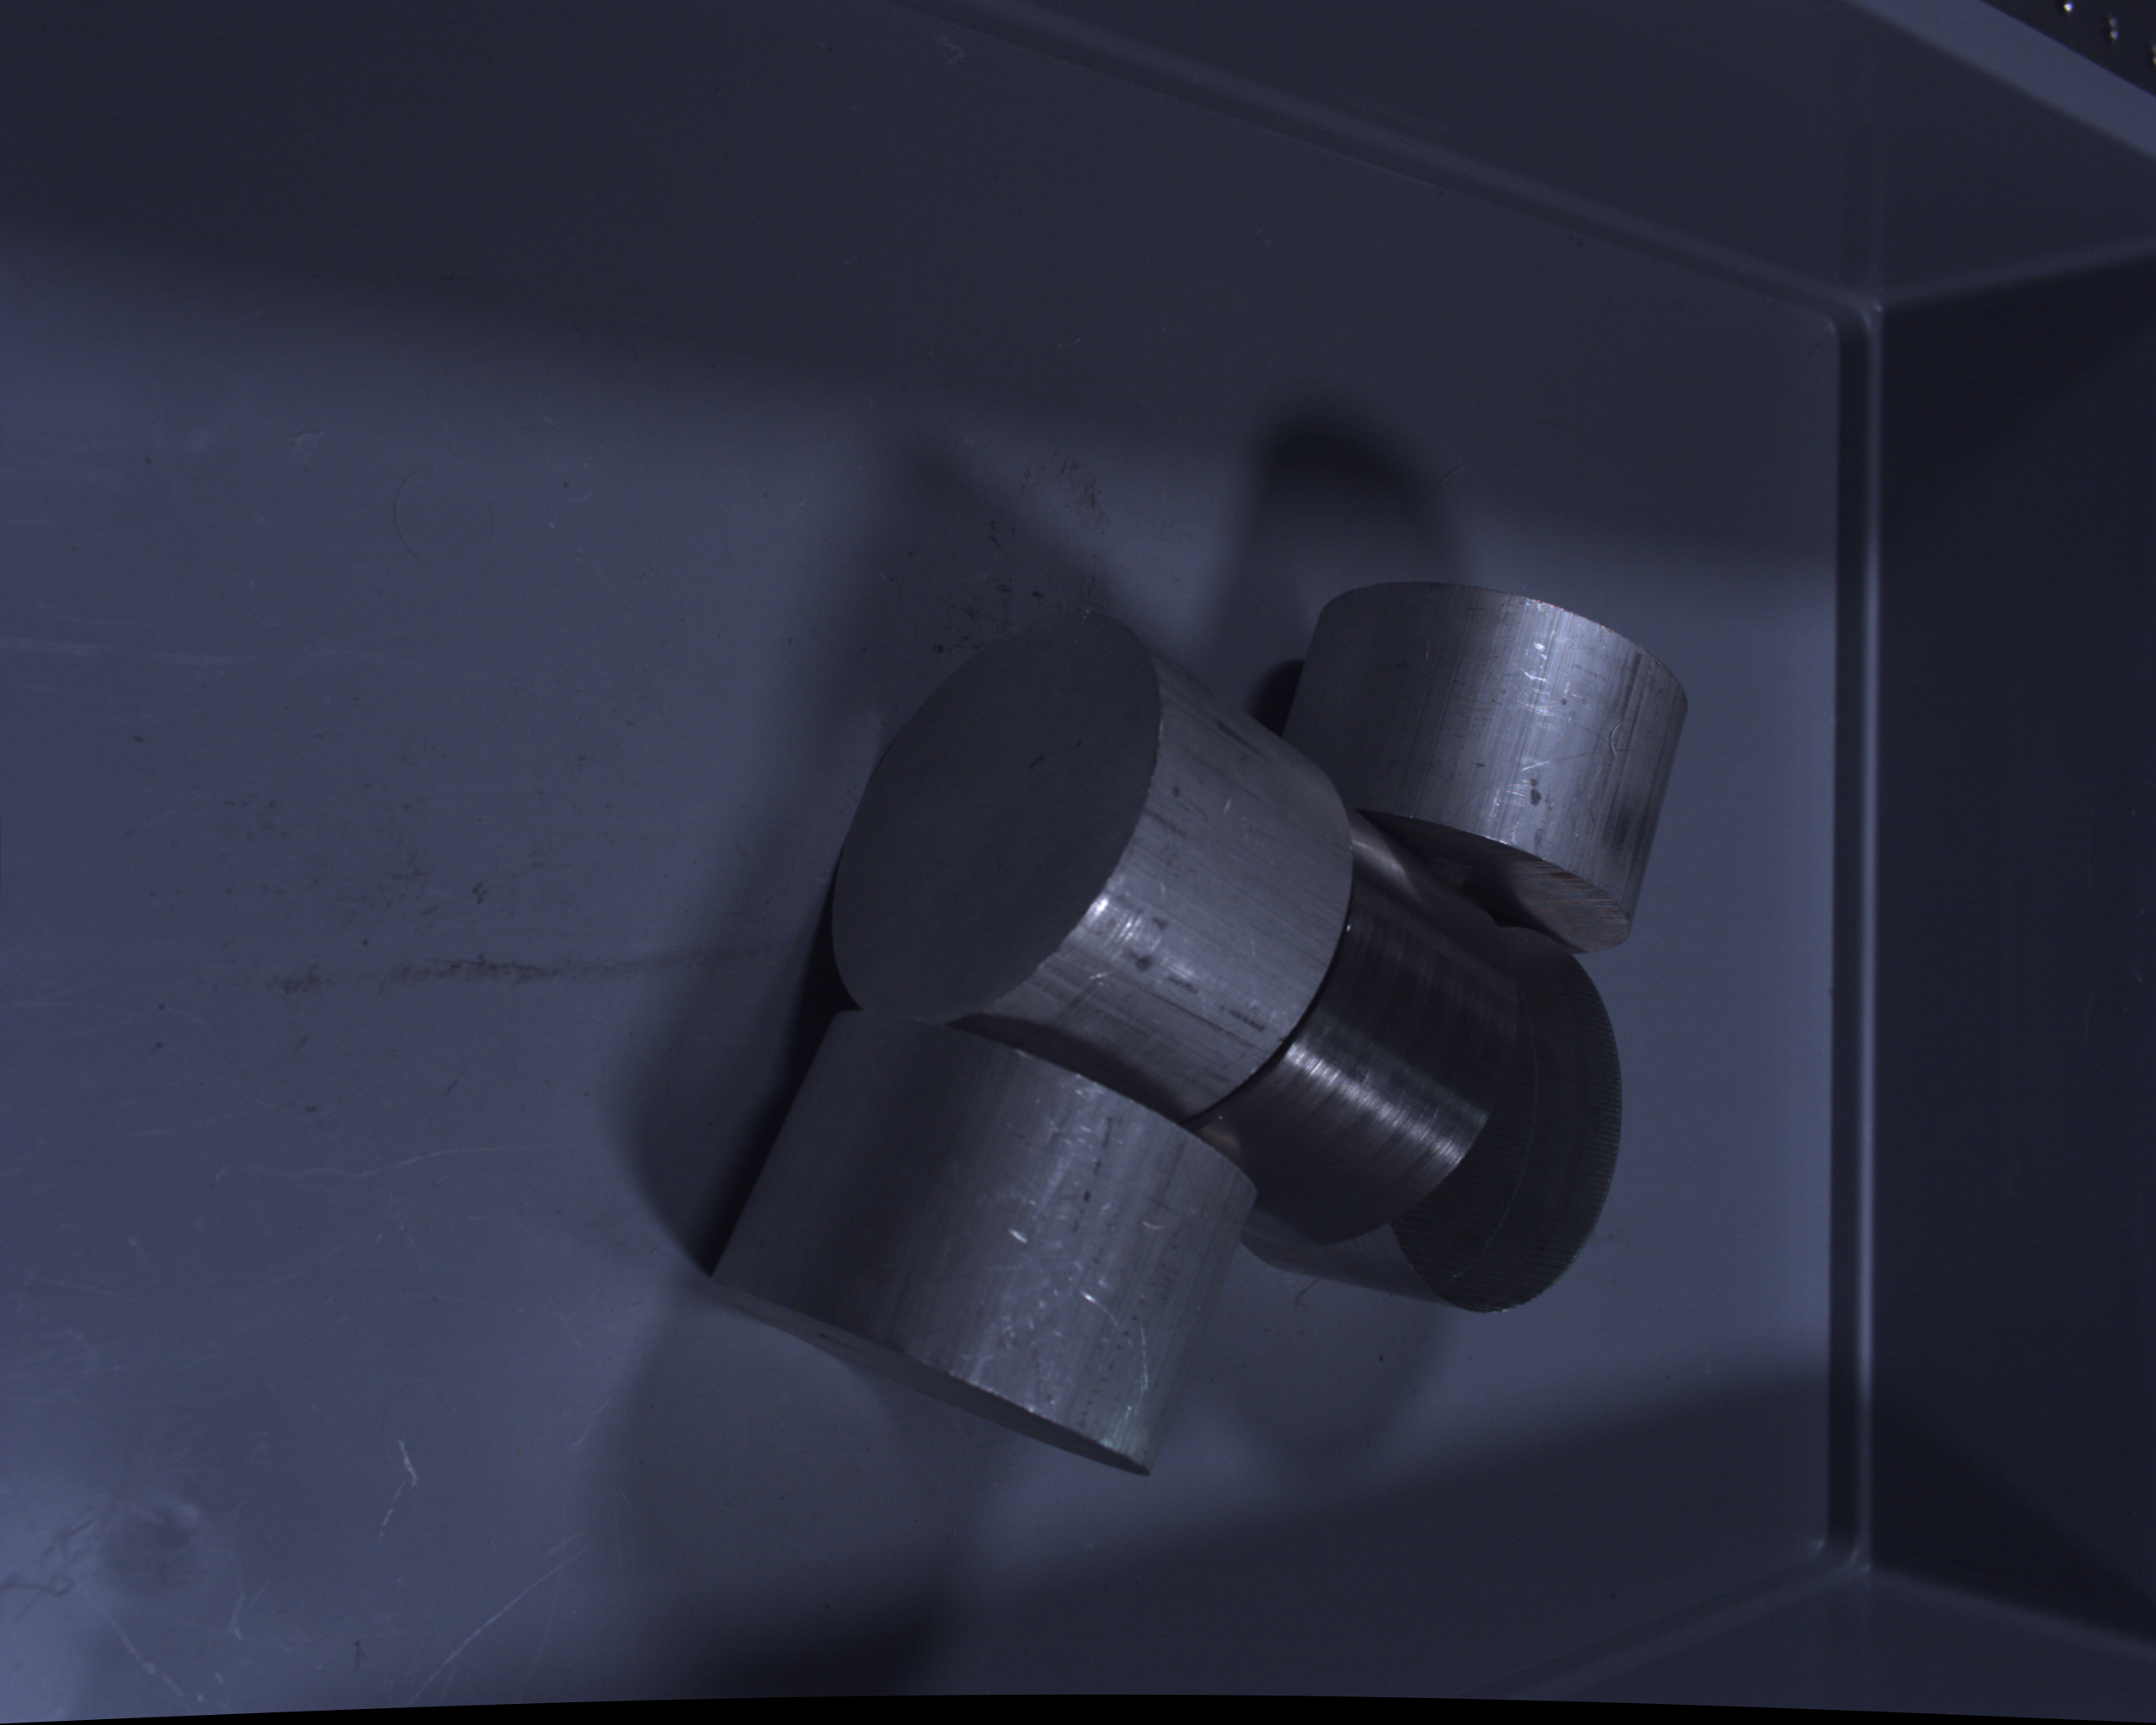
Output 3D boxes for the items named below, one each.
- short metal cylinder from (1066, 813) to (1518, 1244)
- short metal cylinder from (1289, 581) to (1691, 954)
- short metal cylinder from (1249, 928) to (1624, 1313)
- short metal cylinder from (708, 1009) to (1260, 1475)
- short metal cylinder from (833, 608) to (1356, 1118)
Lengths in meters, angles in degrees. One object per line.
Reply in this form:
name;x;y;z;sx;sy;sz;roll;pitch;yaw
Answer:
short metal cylinder;0.036;0.027;0.402;0.050;0.080;0.080;34;69;-36
short metal cylinder;0.083;-0.018;0.441;0.080;0.080;0.050;29;72;-37
short metal cylinder;0.073;0.053;0.452;0.081;0.050;0.079;0;90;-40
short metal cylinder;-0.016;0.065;0.358;0.080;0.080;0.050;36;68;-35
short metal cylinder;0.002;0.002;0.372;0.050;0.080;0.080;32;70;-36
